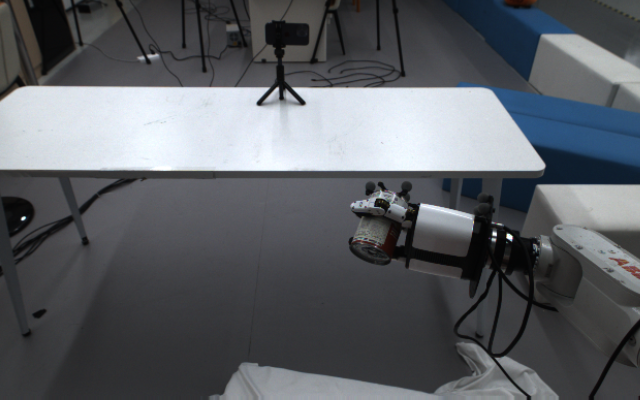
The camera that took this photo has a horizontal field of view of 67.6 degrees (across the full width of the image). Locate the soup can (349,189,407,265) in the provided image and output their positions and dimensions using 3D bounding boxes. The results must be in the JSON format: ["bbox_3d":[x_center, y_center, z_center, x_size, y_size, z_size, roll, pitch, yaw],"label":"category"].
[{"bbox_3d":[0.095,0.042,0.769,0.067,0.067,0.101,15,63,18],"label":"soup can"}]
